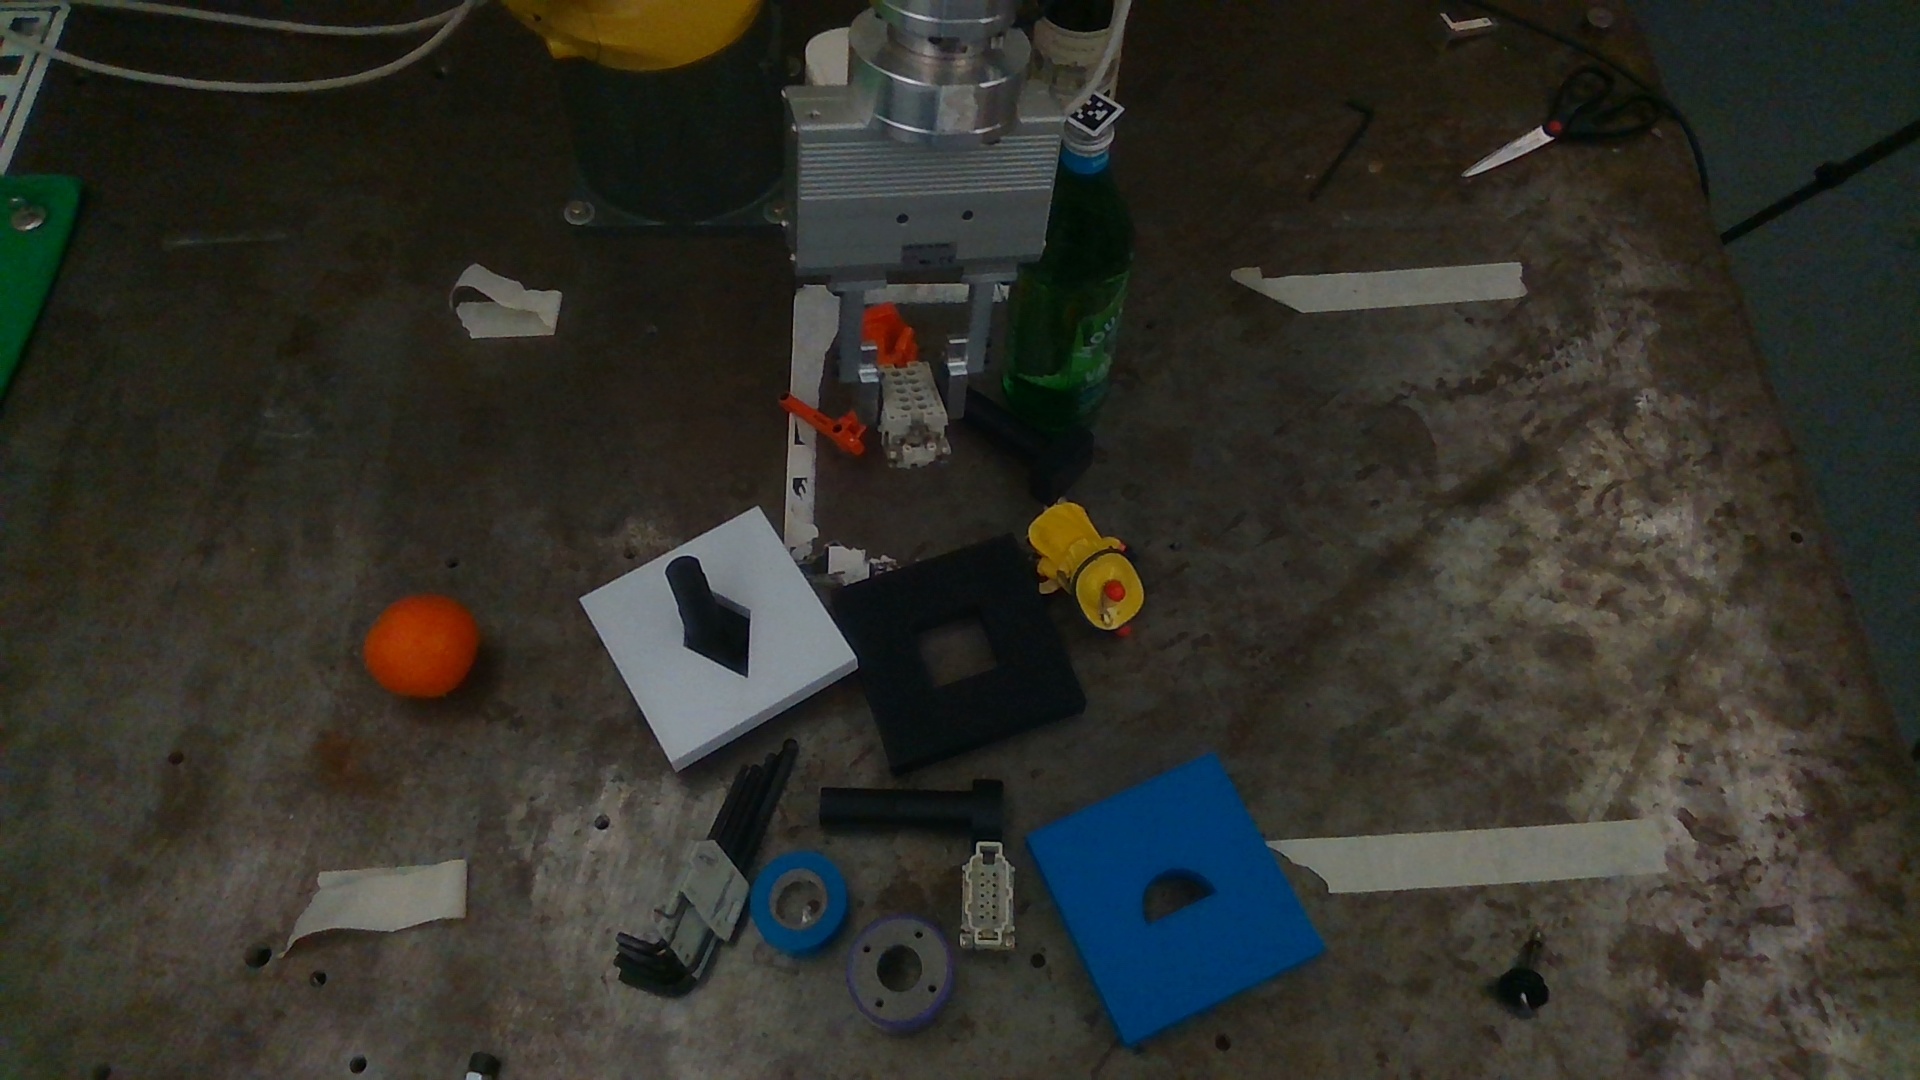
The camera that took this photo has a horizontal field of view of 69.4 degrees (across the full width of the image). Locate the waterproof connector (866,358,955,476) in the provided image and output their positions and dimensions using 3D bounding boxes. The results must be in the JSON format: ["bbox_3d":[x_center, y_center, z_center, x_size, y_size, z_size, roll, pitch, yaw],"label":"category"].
[{"bbox_3d":[-0.026,-0.065,0.728,0.036,0.038,0.069,-8,49,-10],"label":"waterproof connector"}]
